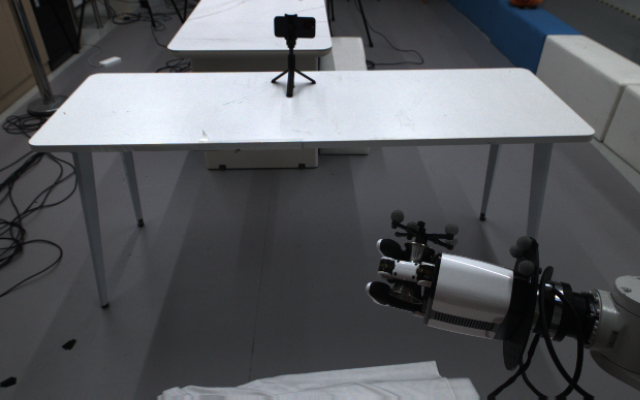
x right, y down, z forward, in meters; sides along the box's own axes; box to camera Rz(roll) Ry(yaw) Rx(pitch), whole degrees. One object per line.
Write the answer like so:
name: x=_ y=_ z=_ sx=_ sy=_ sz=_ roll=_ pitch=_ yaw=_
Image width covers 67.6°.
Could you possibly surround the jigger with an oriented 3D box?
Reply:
jigger: x=0.120 y=0.091 z=0.611 sx=0.043 sy=0.043 sz=0.071 roll=13 pitch=69 yaw=15
